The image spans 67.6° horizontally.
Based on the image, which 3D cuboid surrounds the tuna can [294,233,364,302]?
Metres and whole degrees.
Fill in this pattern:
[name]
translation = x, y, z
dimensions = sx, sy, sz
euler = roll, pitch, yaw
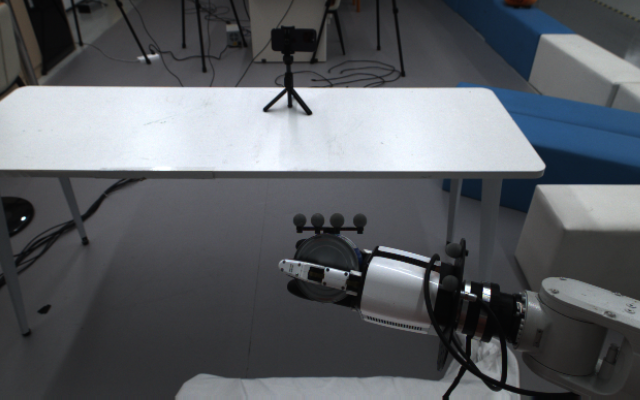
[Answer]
[tuna can]
translation = 0.013, 0.084, 0.611
dimensions = 0.085, 0.085, 0.034
euler = 15, 2, 18
